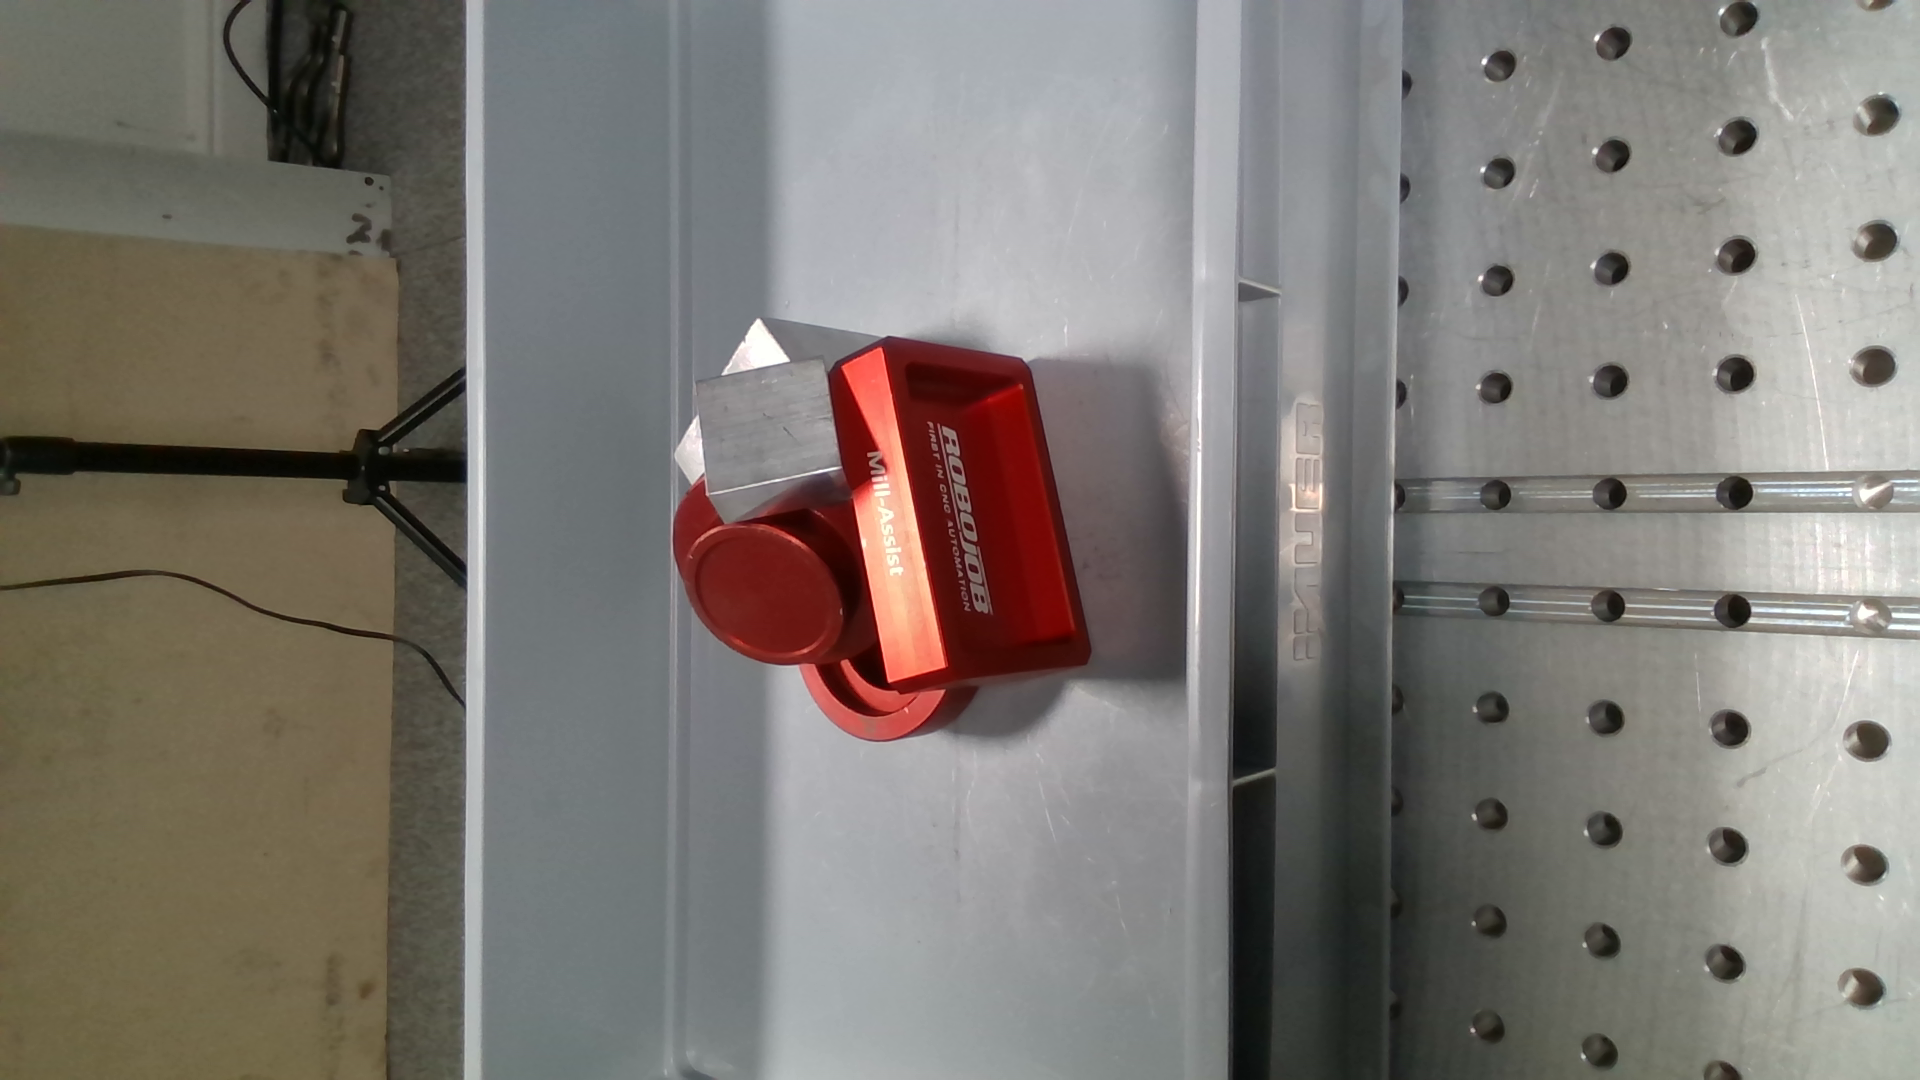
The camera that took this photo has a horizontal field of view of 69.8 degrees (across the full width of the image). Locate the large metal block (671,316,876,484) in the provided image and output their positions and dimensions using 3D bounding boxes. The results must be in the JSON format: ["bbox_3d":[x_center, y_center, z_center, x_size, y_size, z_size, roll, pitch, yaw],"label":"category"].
[{"bbox_3d":[-0.065,-0.046,0.599,0.080,0.080,0.050,-52,60,28],"label":"large metal block"}]

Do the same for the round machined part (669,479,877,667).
[{"bbox_3d":[-0.073,0.012,0.555,0.098,0.042,0.098,9,126,13],"label":"round machined part"}]

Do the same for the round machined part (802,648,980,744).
[{"bbox_3d":[-0.023,0.036,0.591,0.098,0.042,0.098,0,91,40],"label":"round machined part"}]

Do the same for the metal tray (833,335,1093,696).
[{"bbox_3d":[0.001,-0.010,0.536,0.030,0.090,0.130,-19,78,39],"label":"metal tray"}]

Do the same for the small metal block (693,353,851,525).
[{"bbox_3d":[-0.070,-0.038,0.519,0.050,0.025,0.050,-12,65,2],"label":"small metal block"}]
